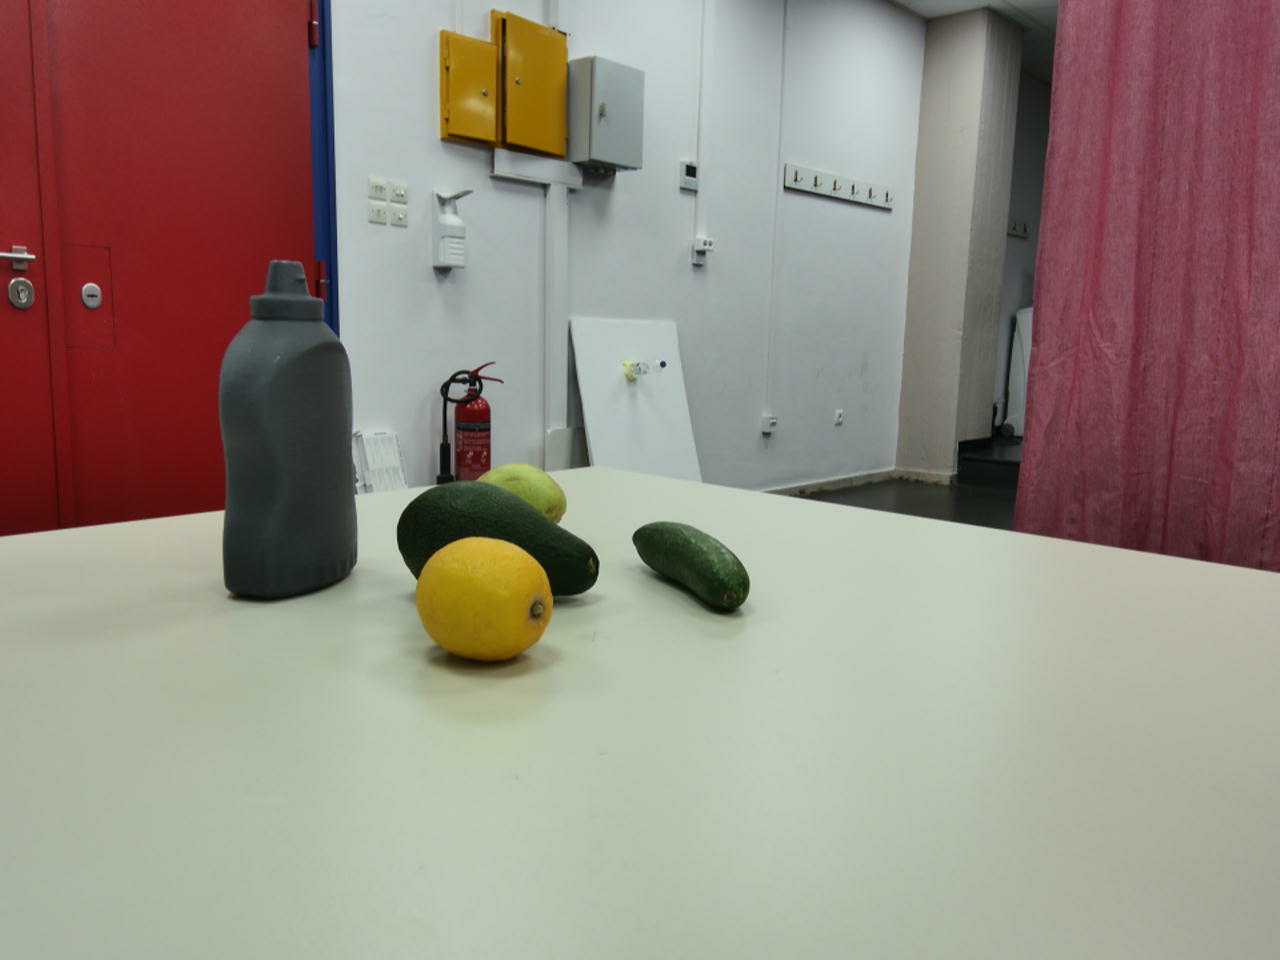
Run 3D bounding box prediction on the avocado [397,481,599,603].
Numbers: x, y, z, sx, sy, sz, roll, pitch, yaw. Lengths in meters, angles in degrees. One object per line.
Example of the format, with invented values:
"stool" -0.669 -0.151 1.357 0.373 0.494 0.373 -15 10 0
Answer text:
"avocado" -0.084 0.036 0.579 0.110 0.071 0.072 3 8 19
